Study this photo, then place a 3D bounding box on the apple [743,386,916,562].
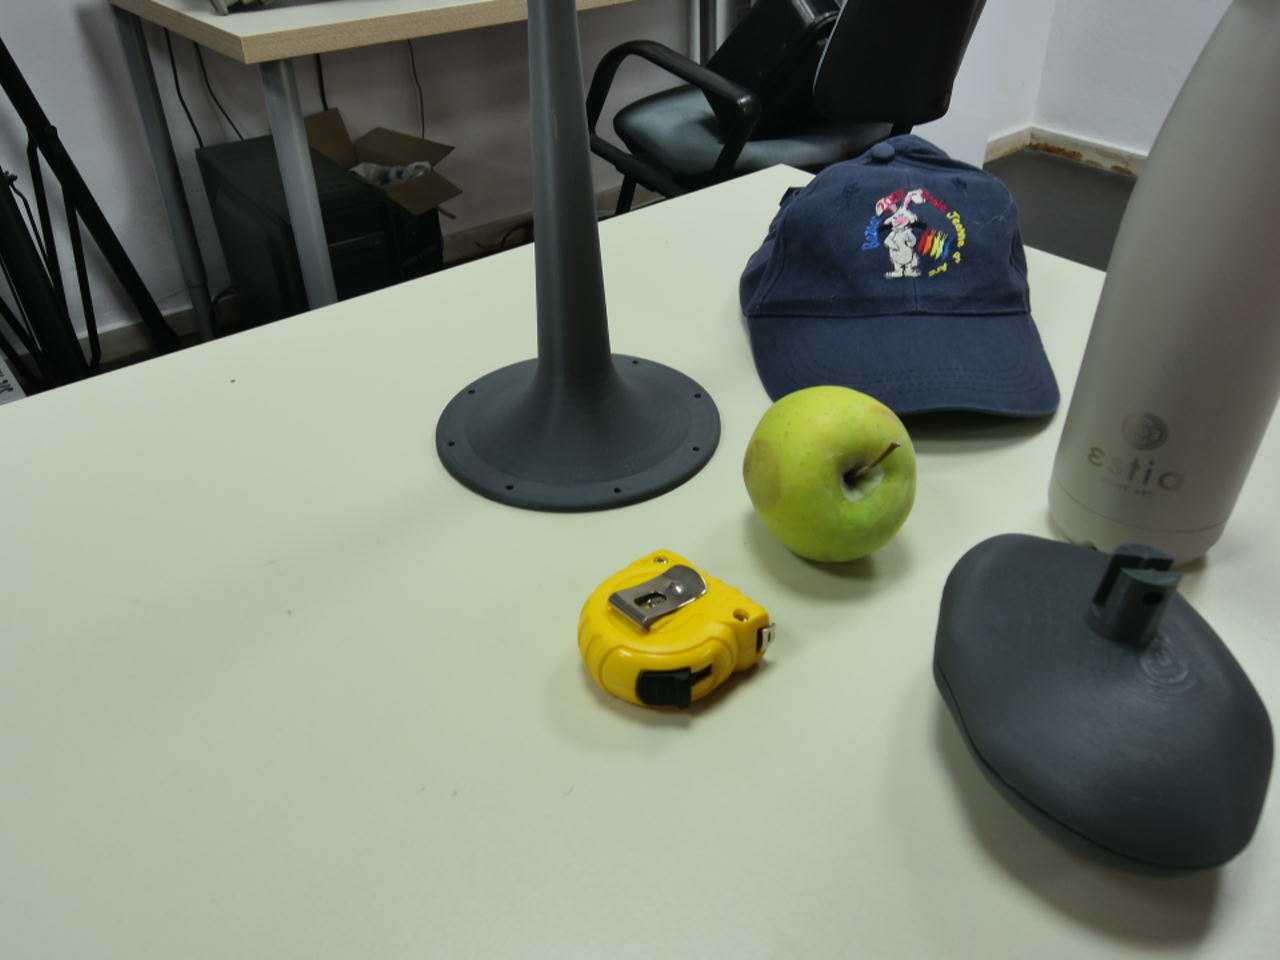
[{"bbox_3d":[0.081,-0.005,0.430,0.072,0.075,0.077,4,35,6],"label":"apple"}]
